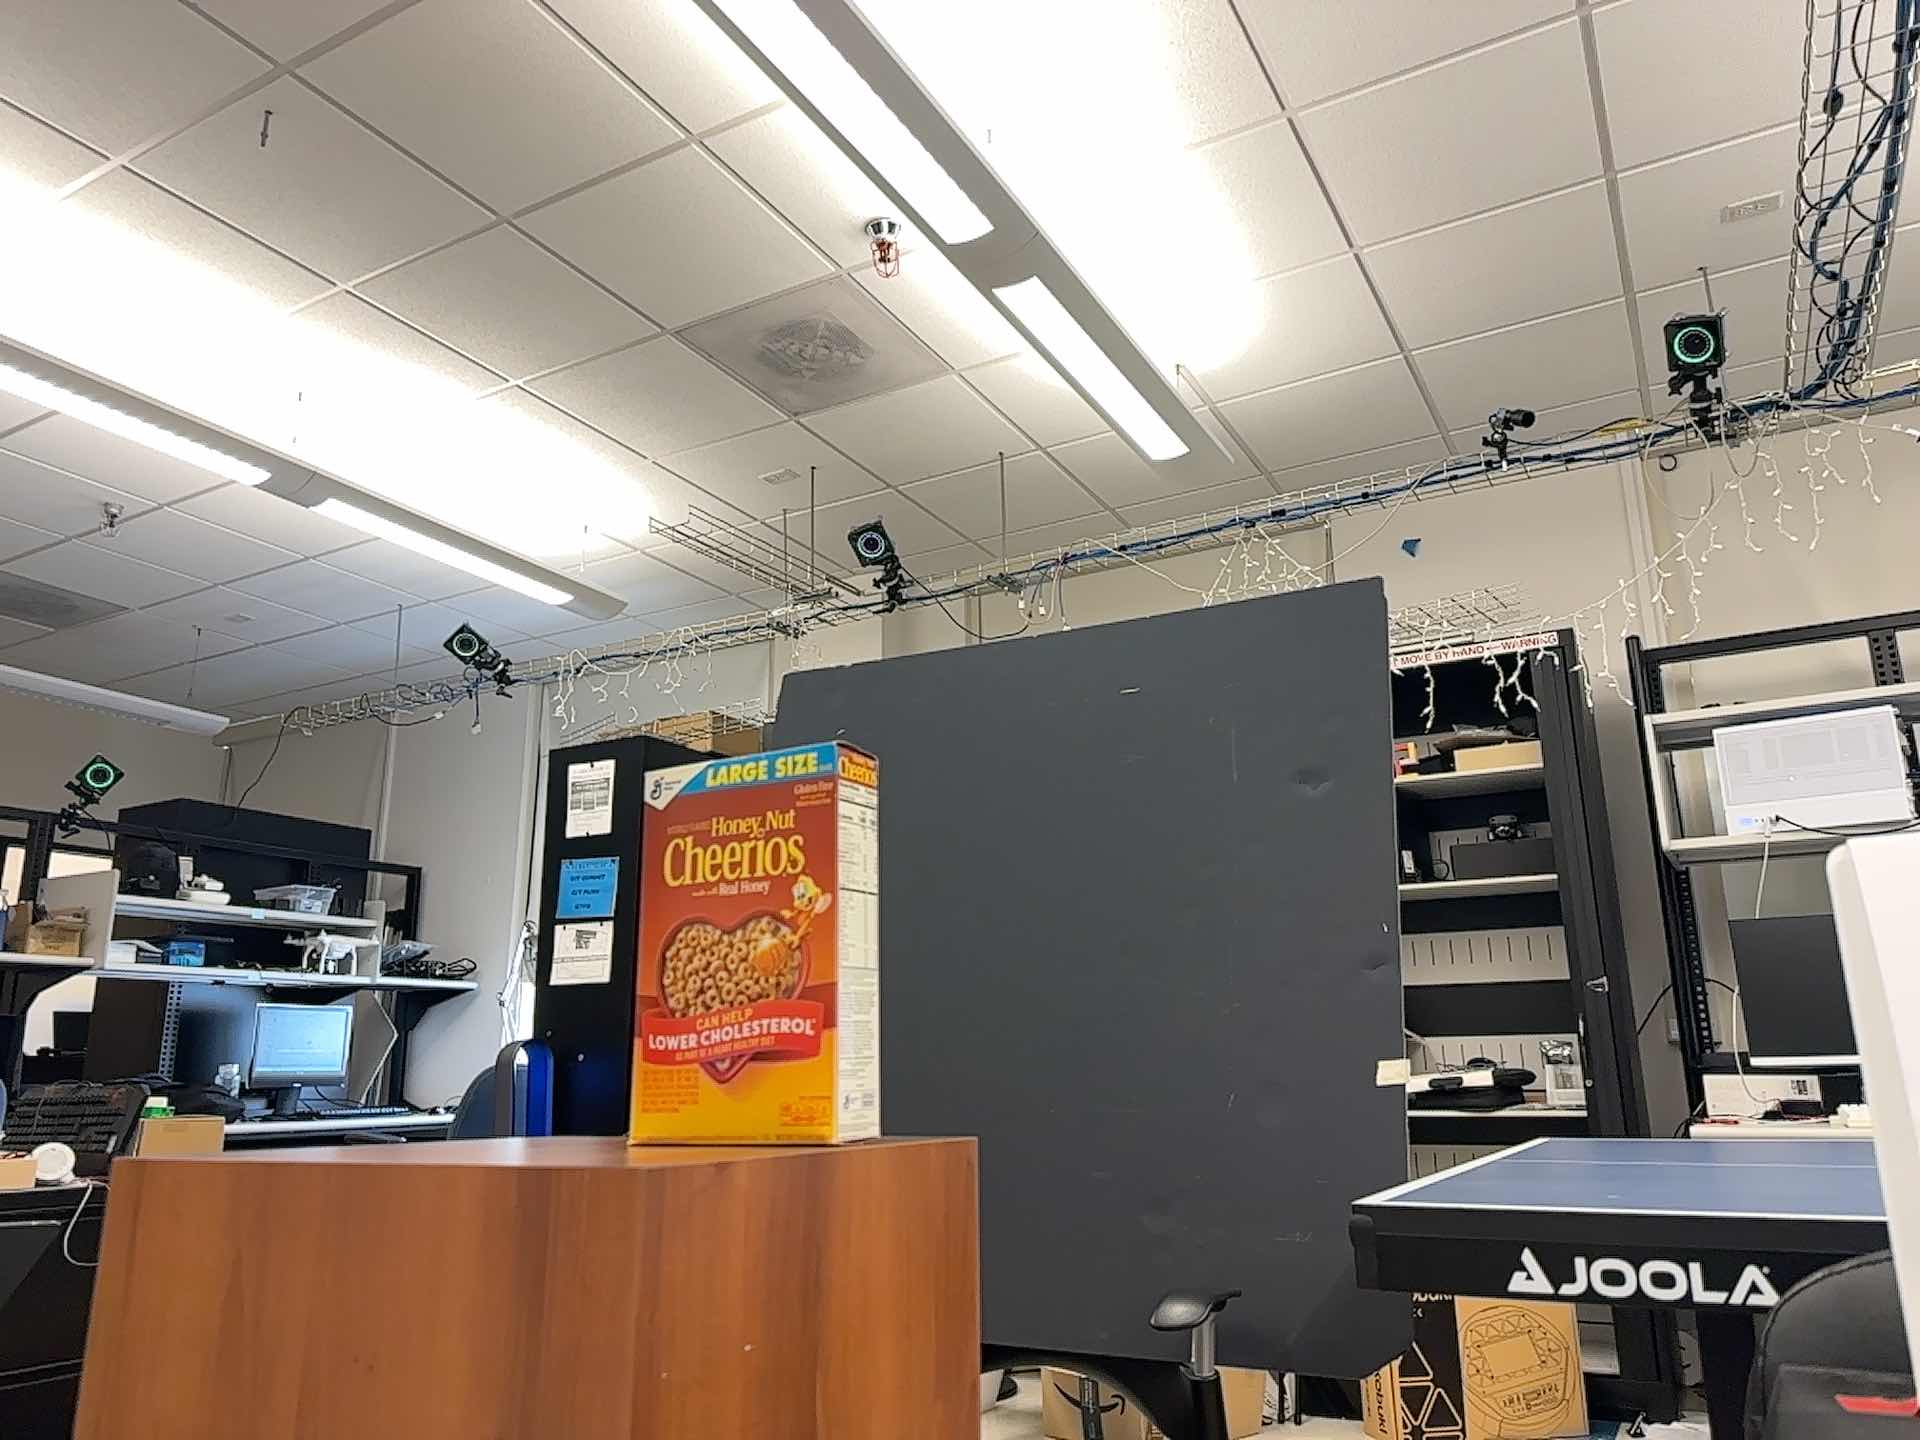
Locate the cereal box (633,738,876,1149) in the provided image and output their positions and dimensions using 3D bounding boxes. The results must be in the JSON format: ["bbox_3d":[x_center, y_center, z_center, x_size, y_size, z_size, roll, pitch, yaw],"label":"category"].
[{"bbox_3d":[-0.167,0.180,1.076,0.195,0.297,0.065,-10,-15,35],"label":"cereal box"}]
